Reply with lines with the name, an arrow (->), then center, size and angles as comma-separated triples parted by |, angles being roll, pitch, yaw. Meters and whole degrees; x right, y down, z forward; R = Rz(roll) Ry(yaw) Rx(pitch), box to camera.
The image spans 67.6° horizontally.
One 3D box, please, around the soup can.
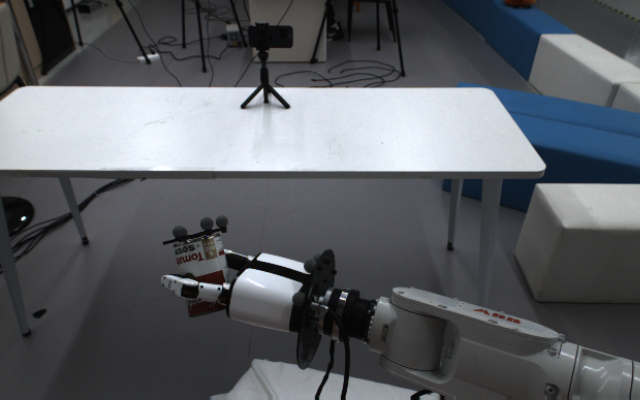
soup can -> -0.159, 0.105, 0.672 | 0.067, 0.101, 0.067 | -14, -2, -1
